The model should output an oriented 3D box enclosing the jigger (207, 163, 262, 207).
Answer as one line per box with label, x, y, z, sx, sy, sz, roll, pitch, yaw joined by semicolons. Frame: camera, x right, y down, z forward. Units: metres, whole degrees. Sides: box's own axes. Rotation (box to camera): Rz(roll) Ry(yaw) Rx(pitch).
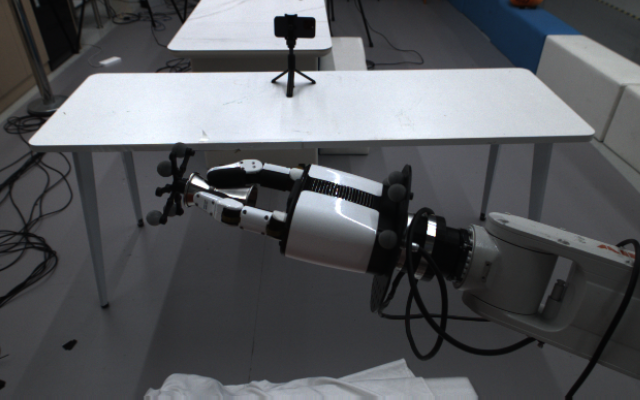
jigger;-0.102;-0.006;0.521;0.071;0.043;0.043;14;36;5
